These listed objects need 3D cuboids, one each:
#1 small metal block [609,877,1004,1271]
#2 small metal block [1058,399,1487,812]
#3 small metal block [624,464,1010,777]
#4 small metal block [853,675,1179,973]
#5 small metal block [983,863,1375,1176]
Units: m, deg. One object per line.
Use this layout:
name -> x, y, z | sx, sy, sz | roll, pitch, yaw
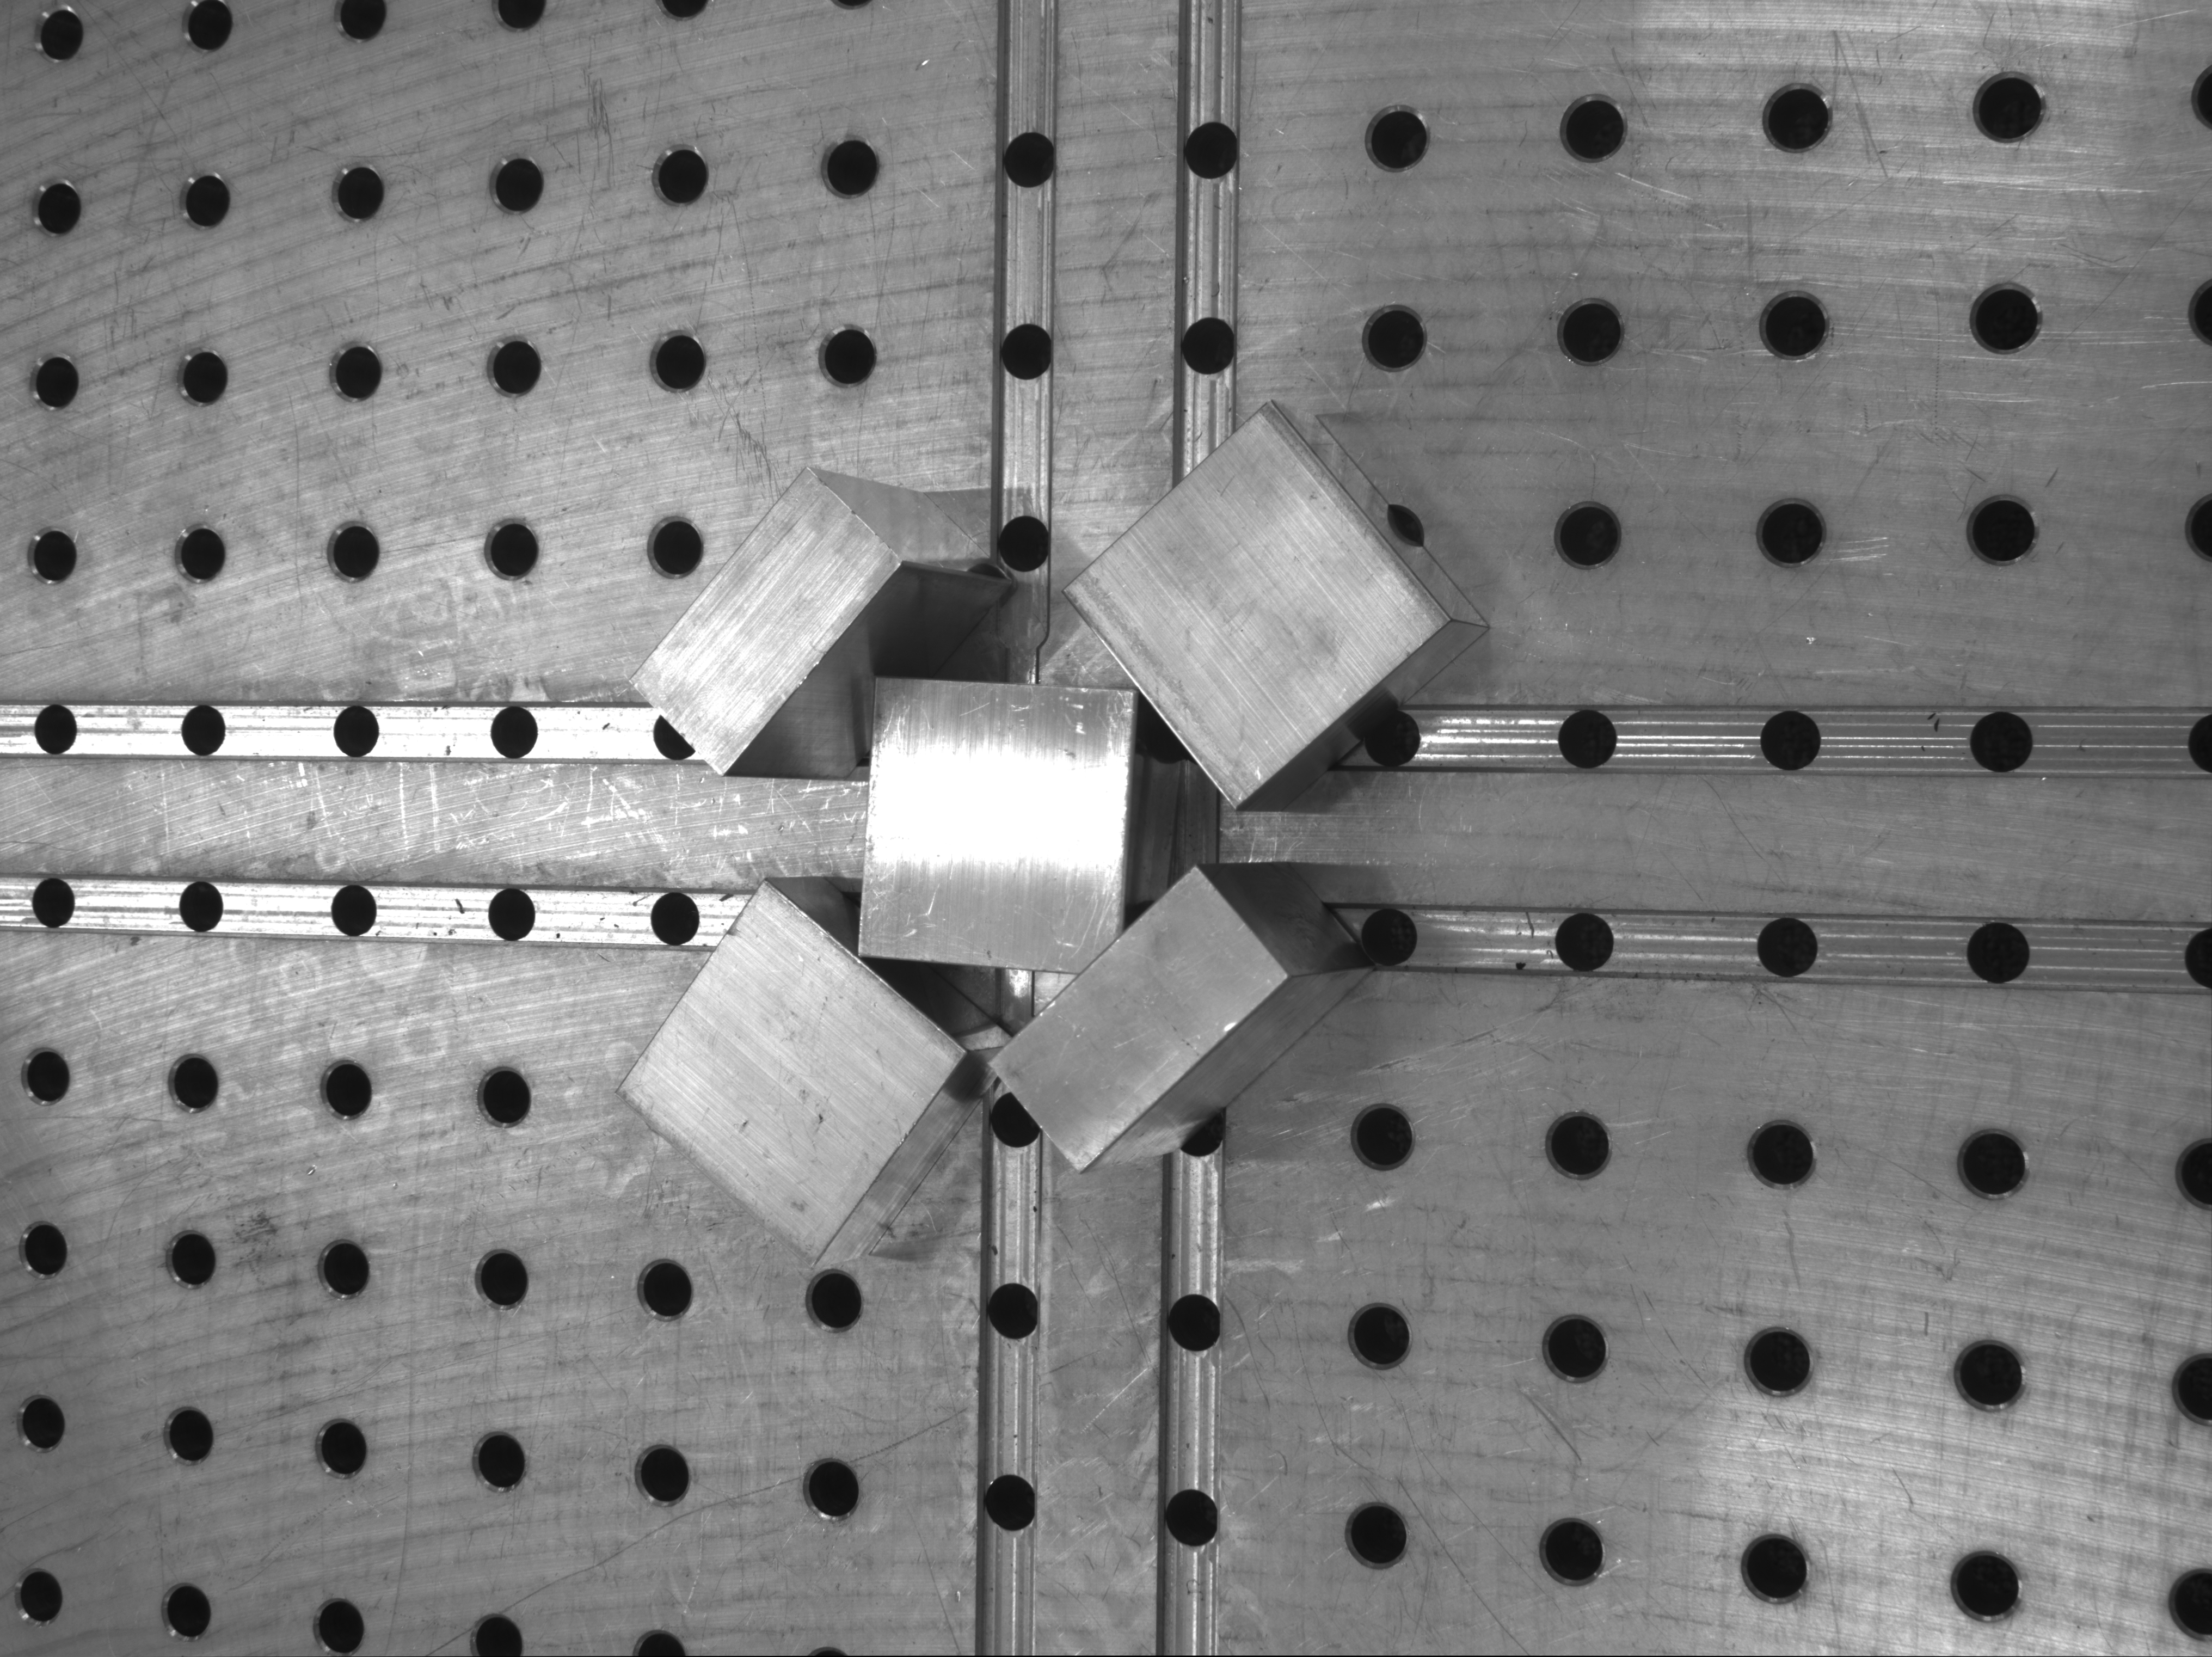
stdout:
small metal block -> -0.053, 0.044, 0.669 | 0.050, 0.025, 0.050 | 40, 102, 15
small metal block -> 0.029, -0.038, 0.639 | 0.050, 0.025, 0.050 | -42, 77, 16
small metal block -> -0.051, -0.036, 0.654 | 0.025, 0.050, 0.050 | 45, 105, 14
small metal block -> -0.015, -0.001, 0.654 | 0.050, 0.025, 0.050 | 4, 90, 21
small metal block -> 0.013, 0.032, 0.631 | 0.050, 0.050, 0.025 | -44, 76, 15
